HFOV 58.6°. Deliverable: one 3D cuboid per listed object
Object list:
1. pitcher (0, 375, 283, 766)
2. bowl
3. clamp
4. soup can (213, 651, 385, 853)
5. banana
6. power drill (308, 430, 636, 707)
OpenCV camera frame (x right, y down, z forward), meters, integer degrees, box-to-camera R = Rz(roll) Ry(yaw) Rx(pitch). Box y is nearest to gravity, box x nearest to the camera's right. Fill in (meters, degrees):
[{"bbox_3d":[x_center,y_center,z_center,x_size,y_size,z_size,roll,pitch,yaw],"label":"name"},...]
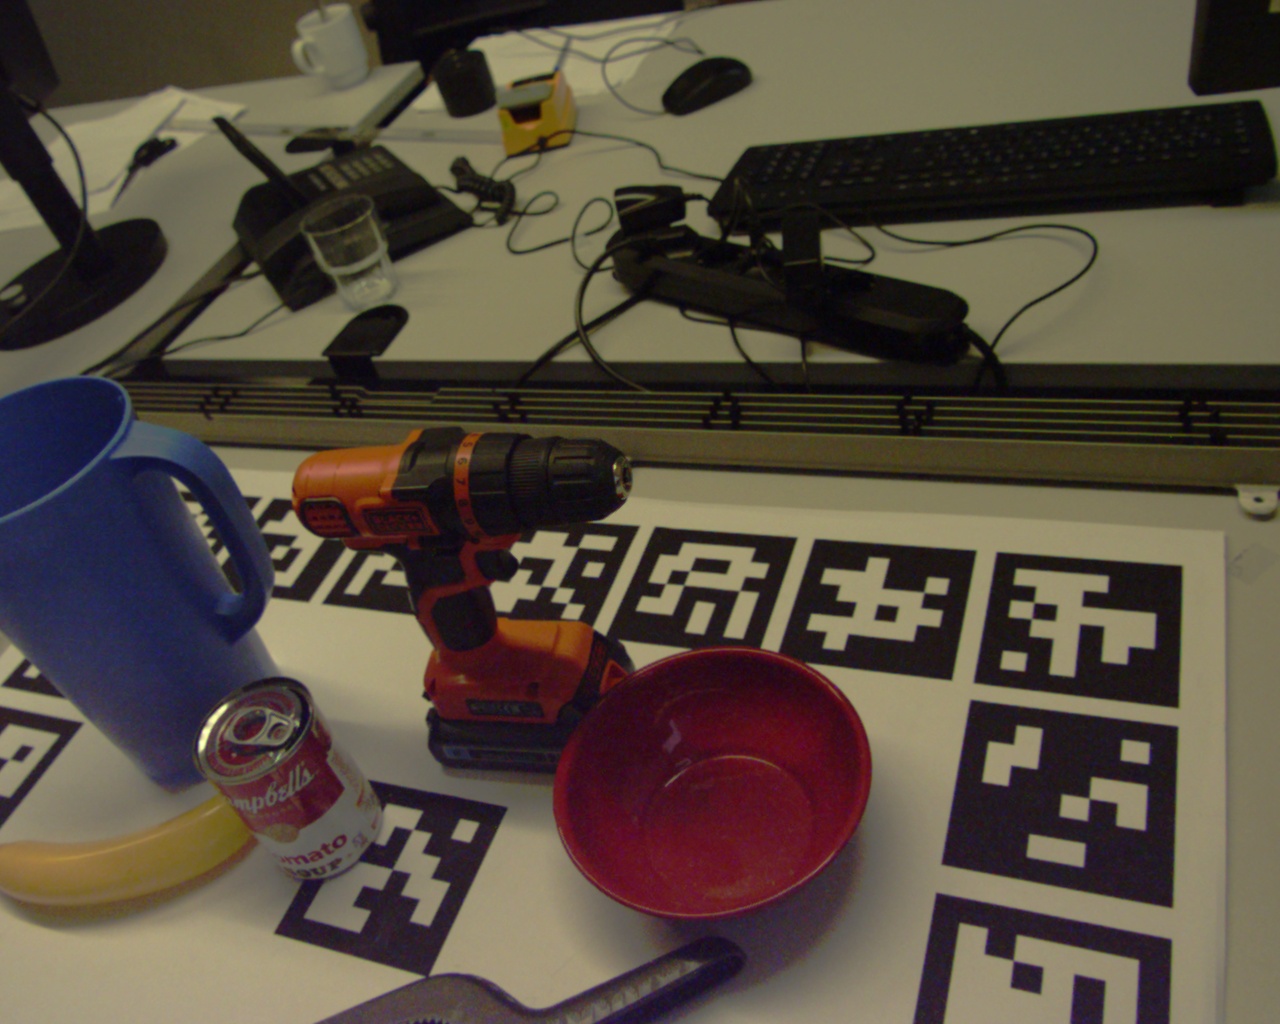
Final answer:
[{"bbox_3d":[-0.307,0.042,0.712,0.189,0.240,0.134,-14,38,6],"label":"pitcher"},{"bbox_3d":[0.029,0.139,0.614,0.162,0.055,0.162,-12,43,11],"label":"bowl"},{"bbox_3d":[-0.073,0.250,0.540,0.205,0.036,0.165,1,49,22],"label":"clamp"},{"bbox_3d":[-0.197,0.142,0.669,0.068,0.101,0.068,-11,34,6],"label":"soup can"},{"bbox_3d":[-0.319,0.195,0.710,0.198,0.038,0.074,-14,33,4],"label":"banana"},{"bbox_3d":[-0.075,0.034,0.642,0.186,0.185,0.057,-1,44,20],"label":"power drill"}]
